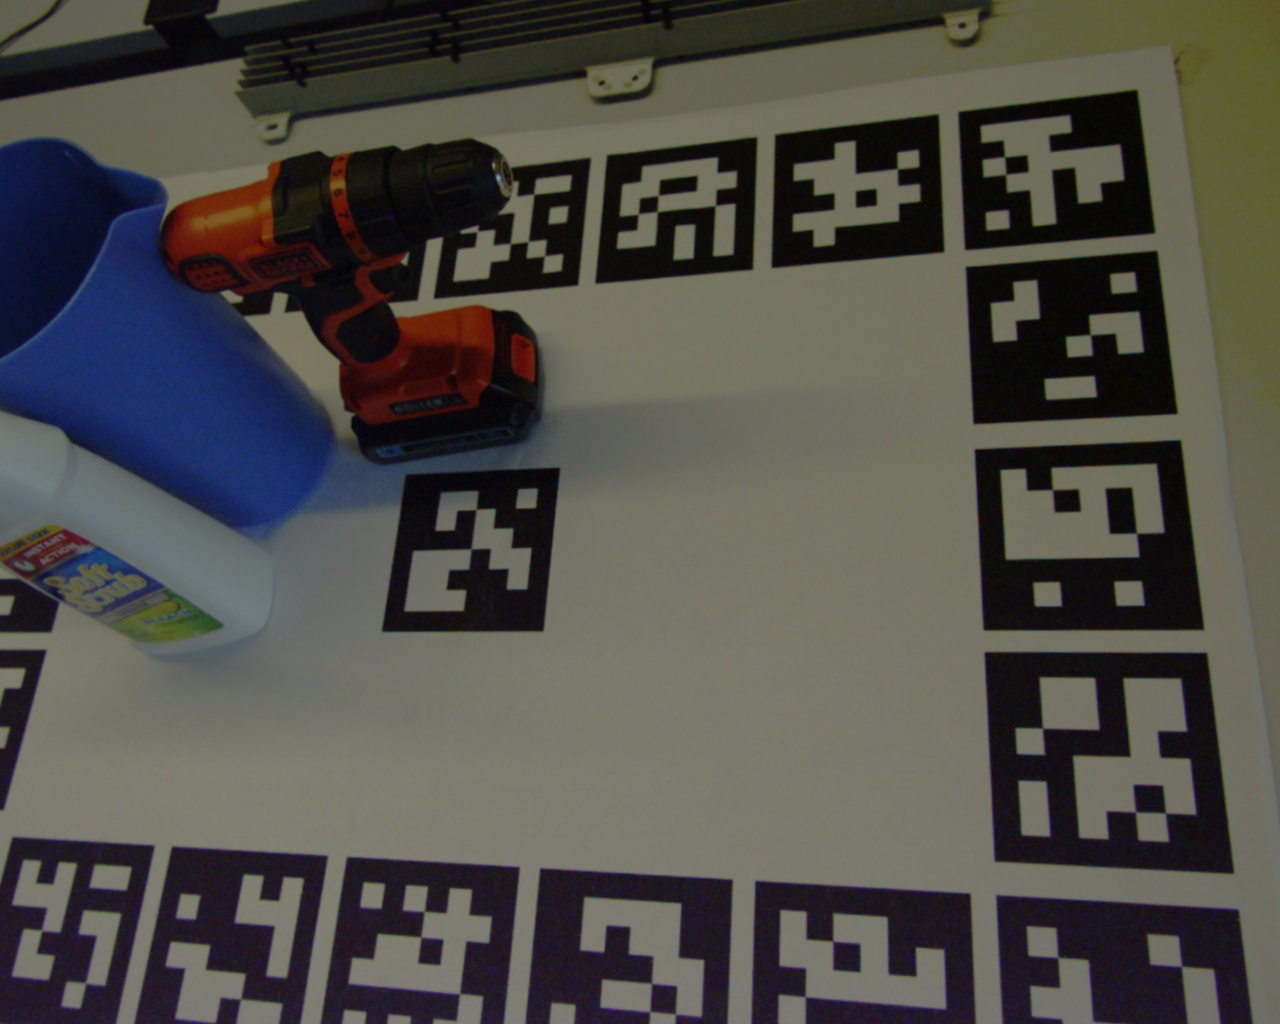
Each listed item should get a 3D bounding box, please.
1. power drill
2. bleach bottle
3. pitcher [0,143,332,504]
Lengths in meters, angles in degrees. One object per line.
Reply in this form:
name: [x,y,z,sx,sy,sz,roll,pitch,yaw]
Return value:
power drill: [-0.129,-0.104,0.635,0.185,0.186,0.057,-5,71,9]
bleach bottle: [-0.317,0.004,0.618,0.103,0.248,0.068,-9,68,13]
pitcher: [-0.294,-0.085,0.668,0.189,0.240,0.134,-27,66,5]
